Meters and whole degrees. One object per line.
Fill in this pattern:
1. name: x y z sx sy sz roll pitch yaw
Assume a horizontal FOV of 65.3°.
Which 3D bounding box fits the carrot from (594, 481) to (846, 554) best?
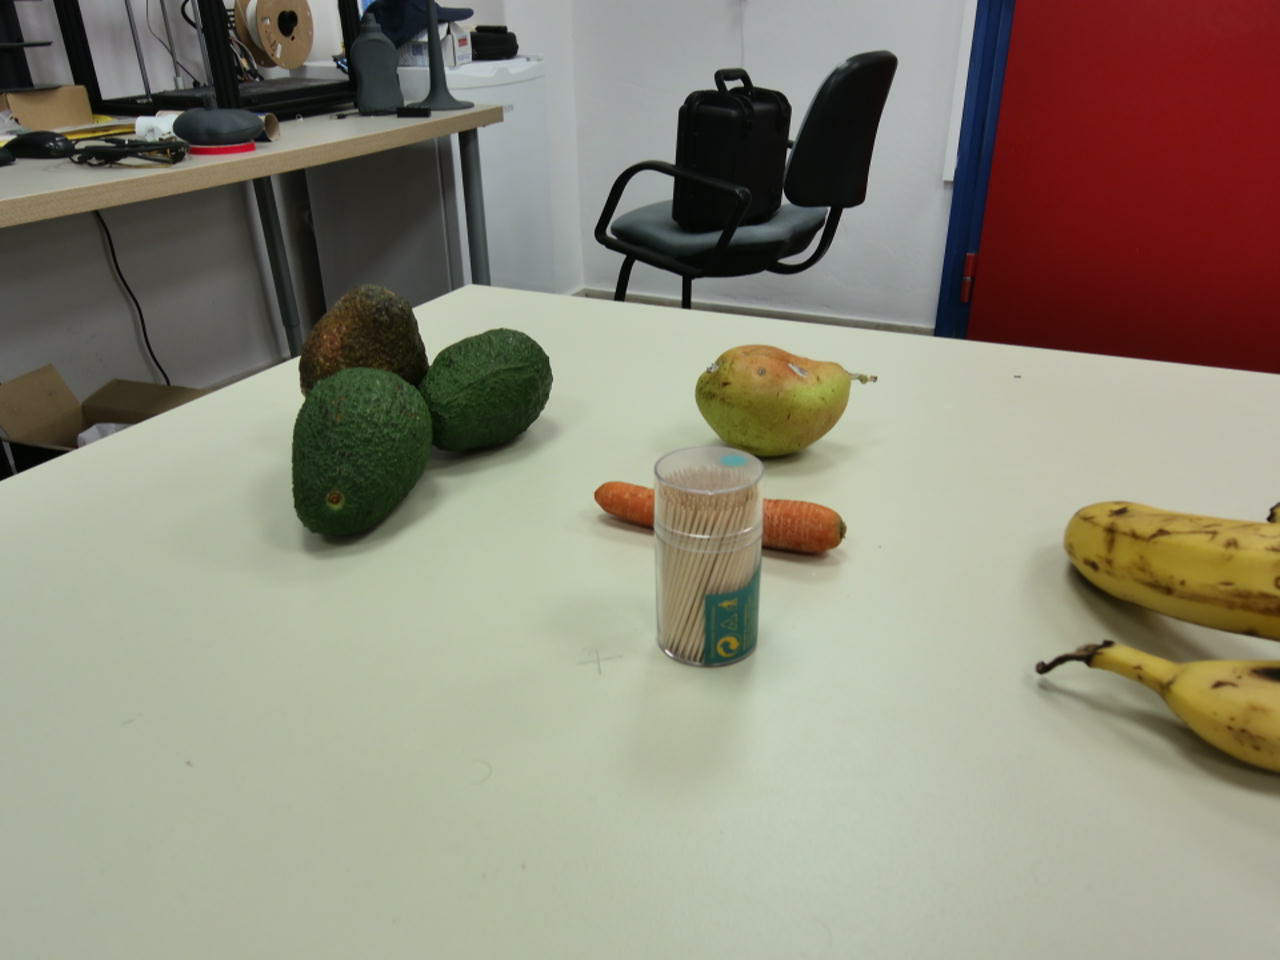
1. carrot: 0.035 0.015 0.466 0.122 0.023 0.024 9 25 21
